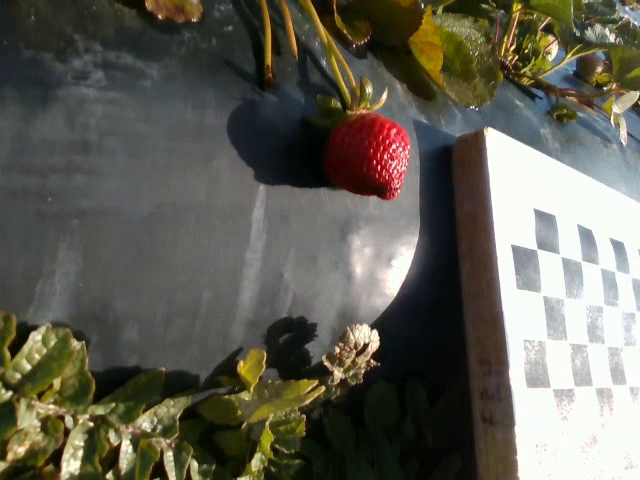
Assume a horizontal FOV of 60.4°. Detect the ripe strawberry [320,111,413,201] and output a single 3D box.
[{"bbox_3d":[0.018,-0.031,0.208,0.040,0.044,0.036,-12,-17,-39],"label":"ripe strawberry"}]
